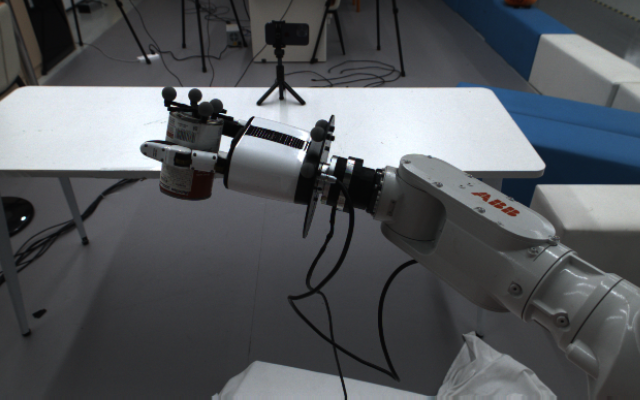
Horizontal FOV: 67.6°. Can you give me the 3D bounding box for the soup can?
[{"bbox_3d":[-0.162,-0.058,0.610,0.067,0.101,0.067,13,18,-4],"label":"soup can"}]
